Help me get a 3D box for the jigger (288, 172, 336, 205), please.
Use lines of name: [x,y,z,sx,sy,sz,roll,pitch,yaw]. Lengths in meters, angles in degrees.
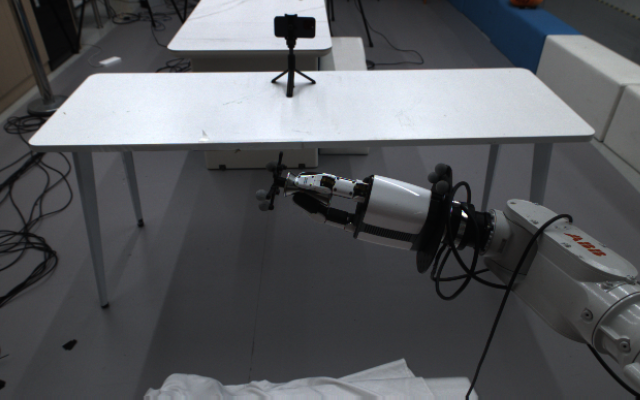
jigger: [-0.009,-0.020,0.710,0.071,0.043,0.043,13,36,4]
